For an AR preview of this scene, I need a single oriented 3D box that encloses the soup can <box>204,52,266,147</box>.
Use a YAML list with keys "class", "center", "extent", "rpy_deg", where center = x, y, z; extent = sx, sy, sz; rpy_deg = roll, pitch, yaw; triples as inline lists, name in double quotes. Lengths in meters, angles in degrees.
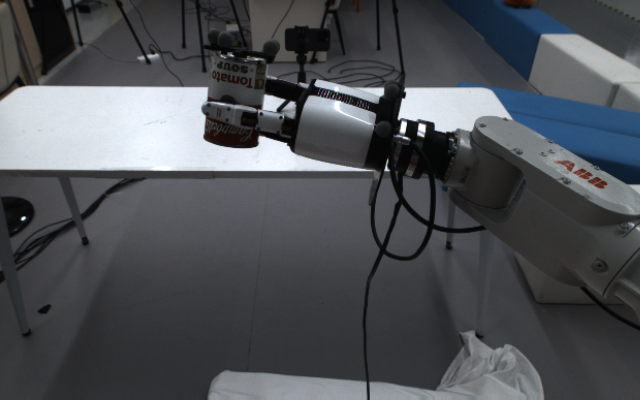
- class: "soup can"
  center: [-0.100, -0.121, 0.578]
  extent: [0.067, 0.101, 0.067]
  rpy_deg: [9, 20, -3]
